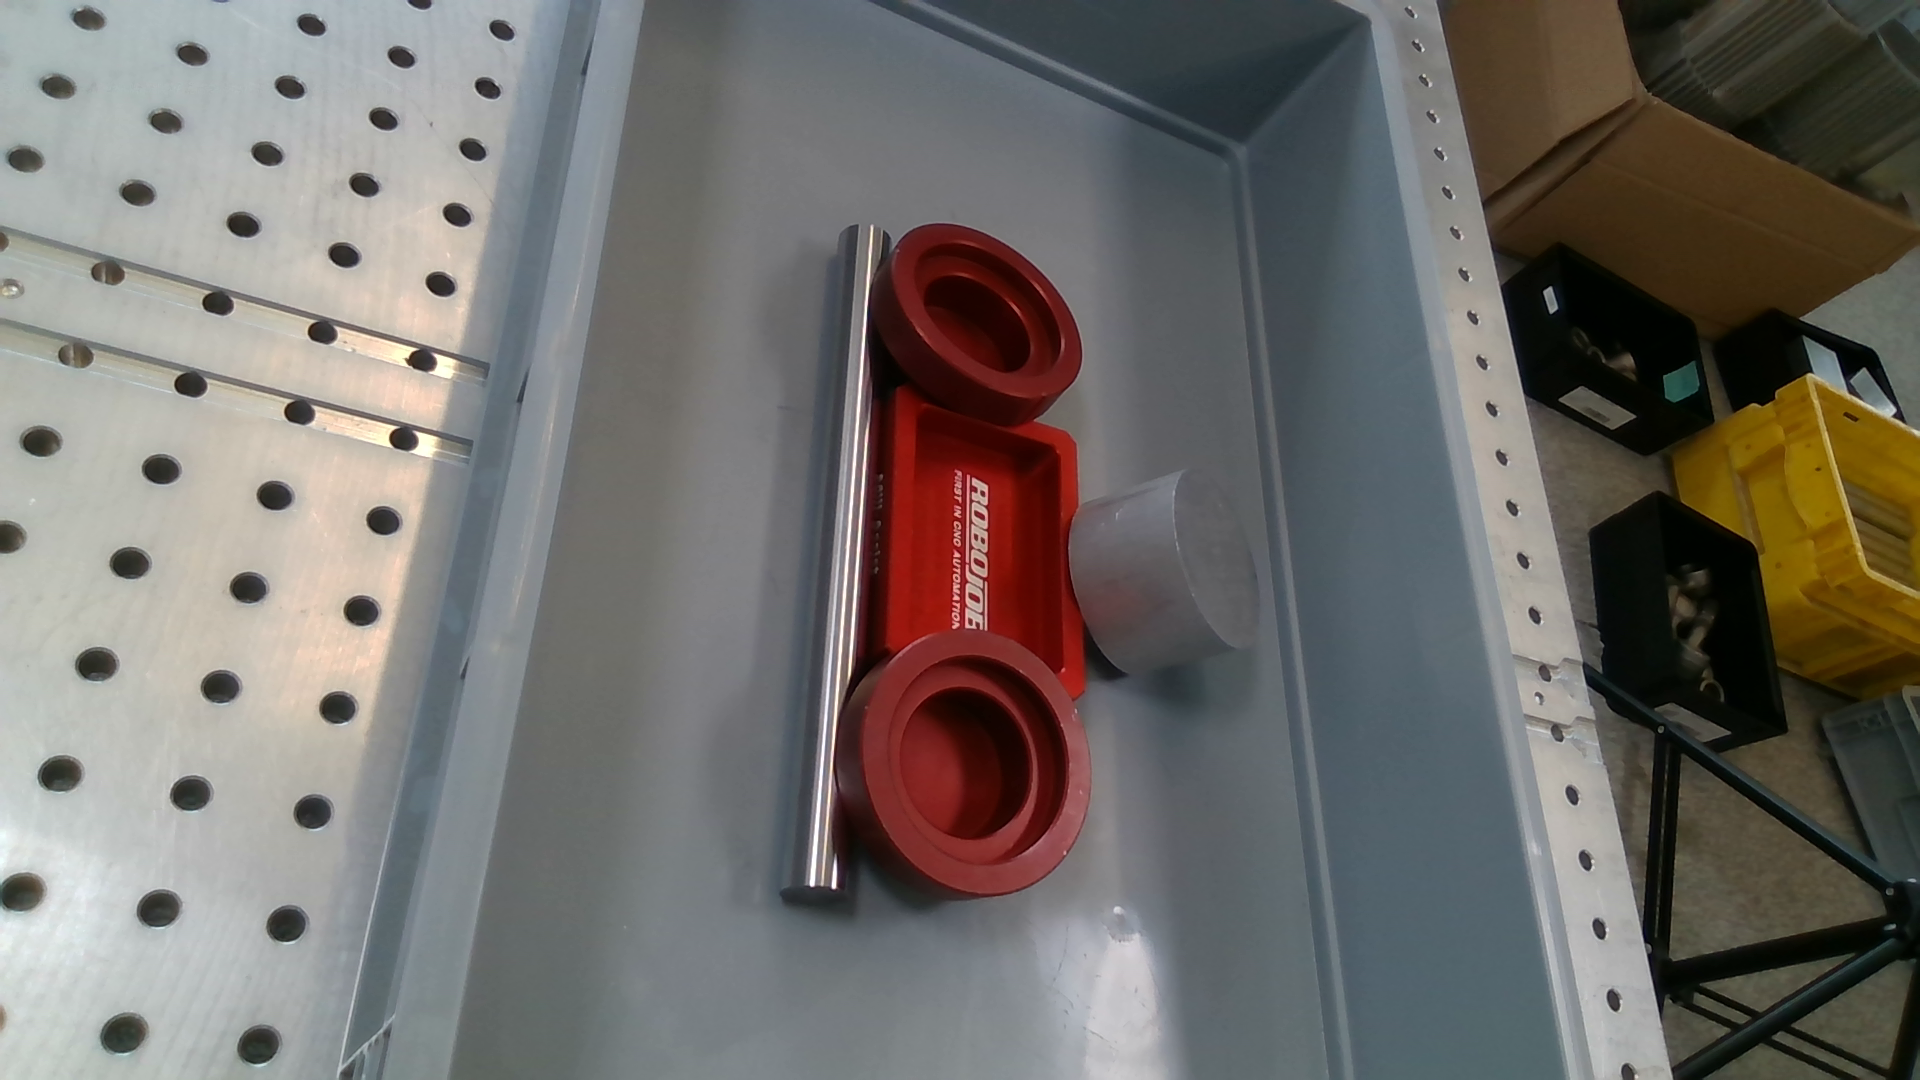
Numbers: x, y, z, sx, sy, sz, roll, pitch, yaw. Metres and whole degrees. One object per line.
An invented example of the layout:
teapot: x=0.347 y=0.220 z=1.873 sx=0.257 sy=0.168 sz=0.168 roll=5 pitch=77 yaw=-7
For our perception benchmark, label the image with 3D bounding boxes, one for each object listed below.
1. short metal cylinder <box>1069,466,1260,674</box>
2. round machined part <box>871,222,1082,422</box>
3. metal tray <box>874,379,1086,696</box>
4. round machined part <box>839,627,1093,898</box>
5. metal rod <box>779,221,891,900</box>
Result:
short metal cylinder: x=0.090 y=0.014 z=0.598 sx=0.080 sy=0.050 sz=0.080 roll=34 pitch=47 yaw=-46
round machined part: x=0.003 y=-0.092 z=0.619 sx=0.098 sy=0.042 sz=0.098 roll=20 pitch=48 yaw=-24
metal tray: x=0.006 y=0.004 z=0.582 sx=0.090 sy=0.030 sz=0.130 roll=15 pitch=59 yaw=-24
round machined part: x=-0.002 y=0.085 z=0.520 sx=0.098 sy=0.042 sz=0.098 roll=11 pitch=68 yaw=-28
metal rod: x=-0.048 y=-0.007 z=0.559 sx=0.025 sy=0.025 sz=0.299 roll=16 pitch=58 yaw=-24
